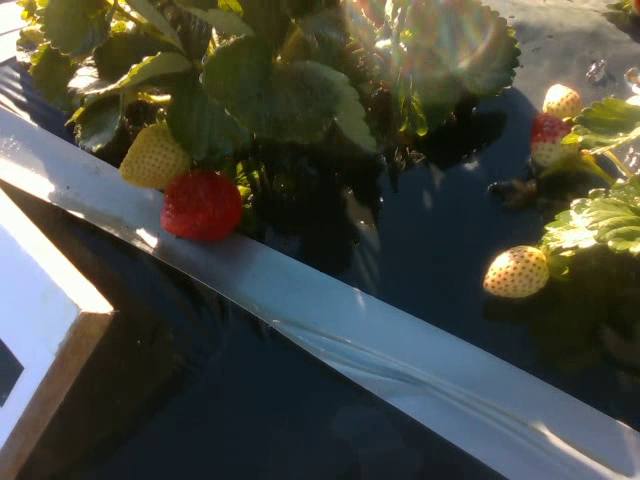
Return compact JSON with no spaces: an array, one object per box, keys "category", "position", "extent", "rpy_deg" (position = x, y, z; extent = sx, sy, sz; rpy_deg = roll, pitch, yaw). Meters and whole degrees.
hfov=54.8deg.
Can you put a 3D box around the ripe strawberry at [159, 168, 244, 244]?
[{"category":"ripe strawberry","position":[-0.065,-0.016,0.314],"extent":[0.045,0.049,0.064],"rpy_deg":[-34,8,21]}]
